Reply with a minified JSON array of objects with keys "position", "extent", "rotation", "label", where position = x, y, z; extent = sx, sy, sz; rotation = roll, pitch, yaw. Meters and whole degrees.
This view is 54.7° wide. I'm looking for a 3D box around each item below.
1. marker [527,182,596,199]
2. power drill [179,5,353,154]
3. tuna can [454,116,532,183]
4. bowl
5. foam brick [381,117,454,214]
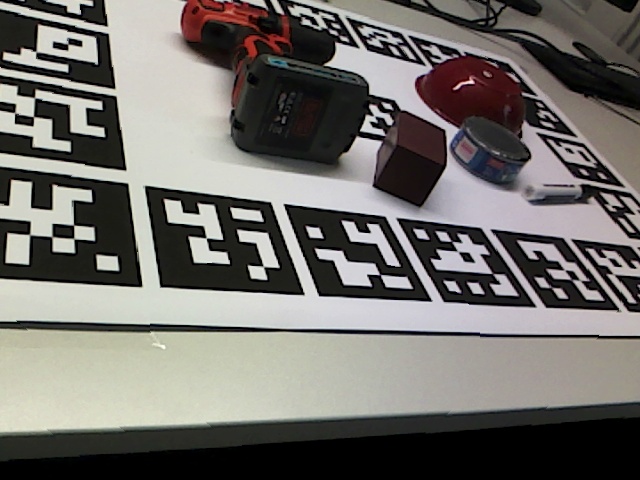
[{"position":[0.288,-0.059,0.729],"extent":[0.120,0.019,0.020],"rotation":[-3,48,-36],"label":"marker"},{"position":[-0.039,-0.164,0.624],"extent":[0.183,0.057,0.188],"rotation":[6,39,-32],"label":"power drill"},{"position":[0.200,-0.106,0.719],"extent":[0.085,0.034,0.086],"rotation":[19,36,-15],"label":"tuna can"},{"position":[0.204,-0.193,0.827],"extent":[0.161,0.055,0.162],"rotation":[14,33,-10],"label":"bowl"},{"position":[0.094,-0.074,0.609],"extent":[0.051,0.053,0.078],"rotation":[22,38,-11],"label":"foam brick"}]
